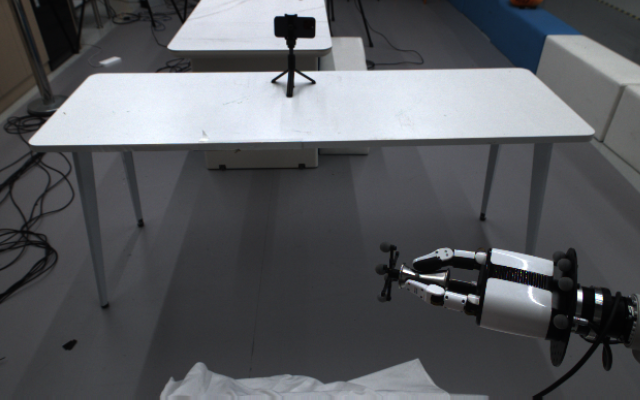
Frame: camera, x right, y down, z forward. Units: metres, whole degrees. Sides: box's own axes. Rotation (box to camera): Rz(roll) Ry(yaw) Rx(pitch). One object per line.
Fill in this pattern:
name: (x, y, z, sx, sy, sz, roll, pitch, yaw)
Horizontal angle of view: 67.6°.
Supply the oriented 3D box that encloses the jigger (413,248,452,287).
jigger: (0.160, 0.113, 0.715, 0.071, 0.043, 0.043, 7, 34, 21)
